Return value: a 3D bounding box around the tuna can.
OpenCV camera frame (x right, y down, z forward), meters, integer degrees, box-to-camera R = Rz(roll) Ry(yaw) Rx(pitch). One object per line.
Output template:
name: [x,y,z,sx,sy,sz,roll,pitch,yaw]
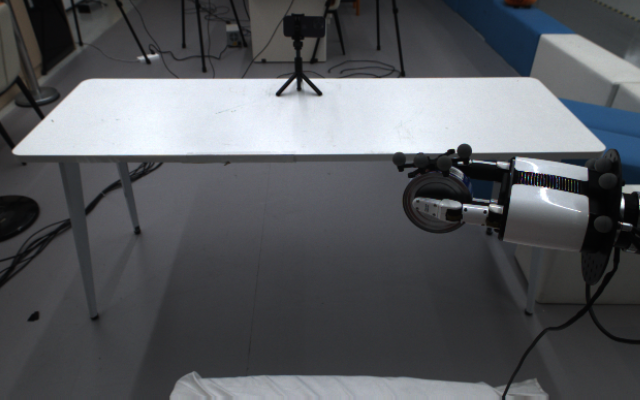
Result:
tuna can: [0.152,-0.004,0.618,0.085,0.085,0.034,13,28,15]
